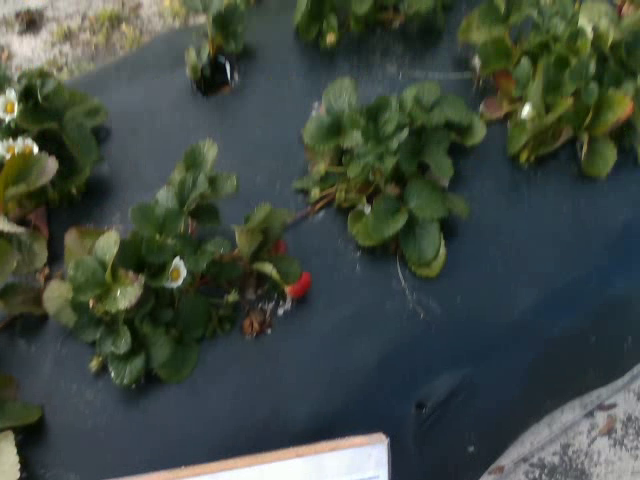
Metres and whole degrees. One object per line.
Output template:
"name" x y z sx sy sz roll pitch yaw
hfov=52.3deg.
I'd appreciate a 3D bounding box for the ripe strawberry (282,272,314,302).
"ripe strawberry" -0.017 0.038 0.482 0.027 0.022 0.021 -26 28 8
